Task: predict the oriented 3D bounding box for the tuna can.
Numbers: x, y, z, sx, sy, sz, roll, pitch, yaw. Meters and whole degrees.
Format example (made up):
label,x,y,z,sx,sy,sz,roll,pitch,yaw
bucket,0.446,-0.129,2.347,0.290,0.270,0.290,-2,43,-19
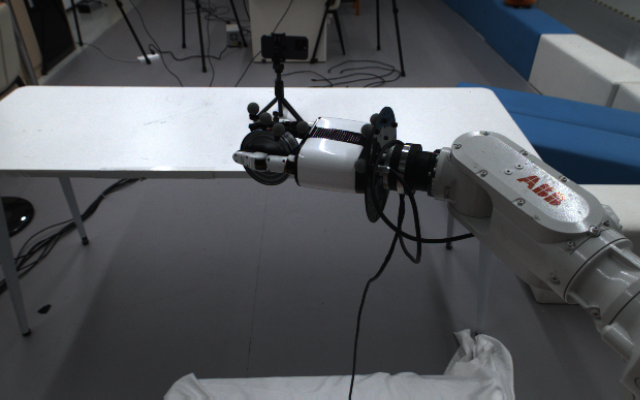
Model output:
label,x,y,z,sx,sy,sz,roll,pitch,yaw
tuna can,-0.071,-0.067,0.709,0.085,0.085,0.034,16,29,19
